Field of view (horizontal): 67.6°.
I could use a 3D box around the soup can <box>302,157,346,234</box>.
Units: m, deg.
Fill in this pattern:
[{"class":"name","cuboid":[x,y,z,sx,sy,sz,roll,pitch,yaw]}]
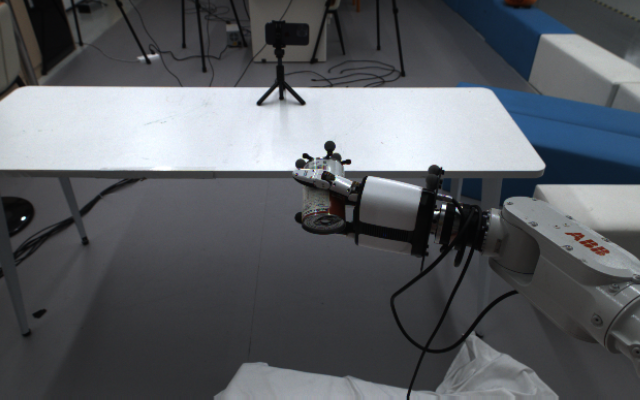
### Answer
[{"class":"soup can","cuboid":[0.006,-0.005,0.746,0.067,0.067,0.101,1,62,-2]}]
